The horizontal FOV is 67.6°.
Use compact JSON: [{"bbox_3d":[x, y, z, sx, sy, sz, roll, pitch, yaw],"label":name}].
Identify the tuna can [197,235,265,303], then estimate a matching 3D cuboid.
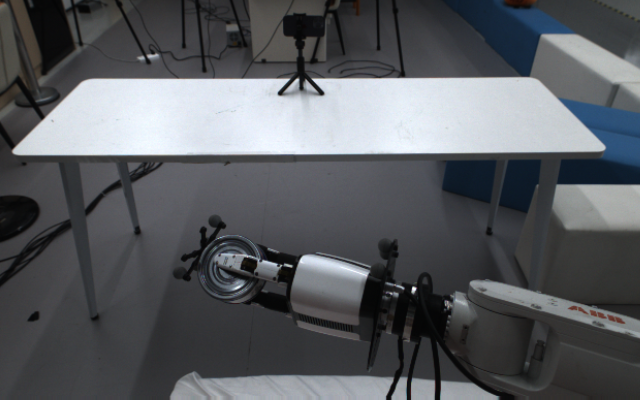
[{"bbox_3d":[-0.107,0.092,0.614,0.085,0.034,0.085,-2,72,5],"label":"tuna can"}]
